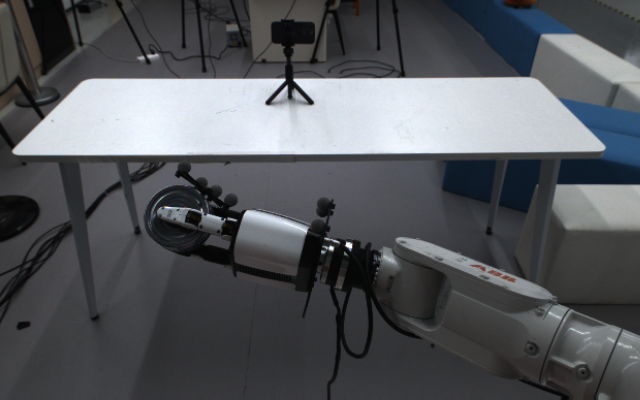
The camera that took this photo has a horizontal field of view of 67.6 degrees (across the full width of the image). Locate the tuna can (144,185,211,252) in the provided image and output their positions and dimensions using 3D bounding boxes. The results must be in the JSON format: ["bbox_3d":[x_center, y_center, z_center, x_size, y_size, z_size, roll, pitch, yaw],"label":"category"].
[{"bbox_3d":[-0.182,0.024,0.633,0.085,0.034,0.085,0,74,-1],"label":"tuna can"}]
